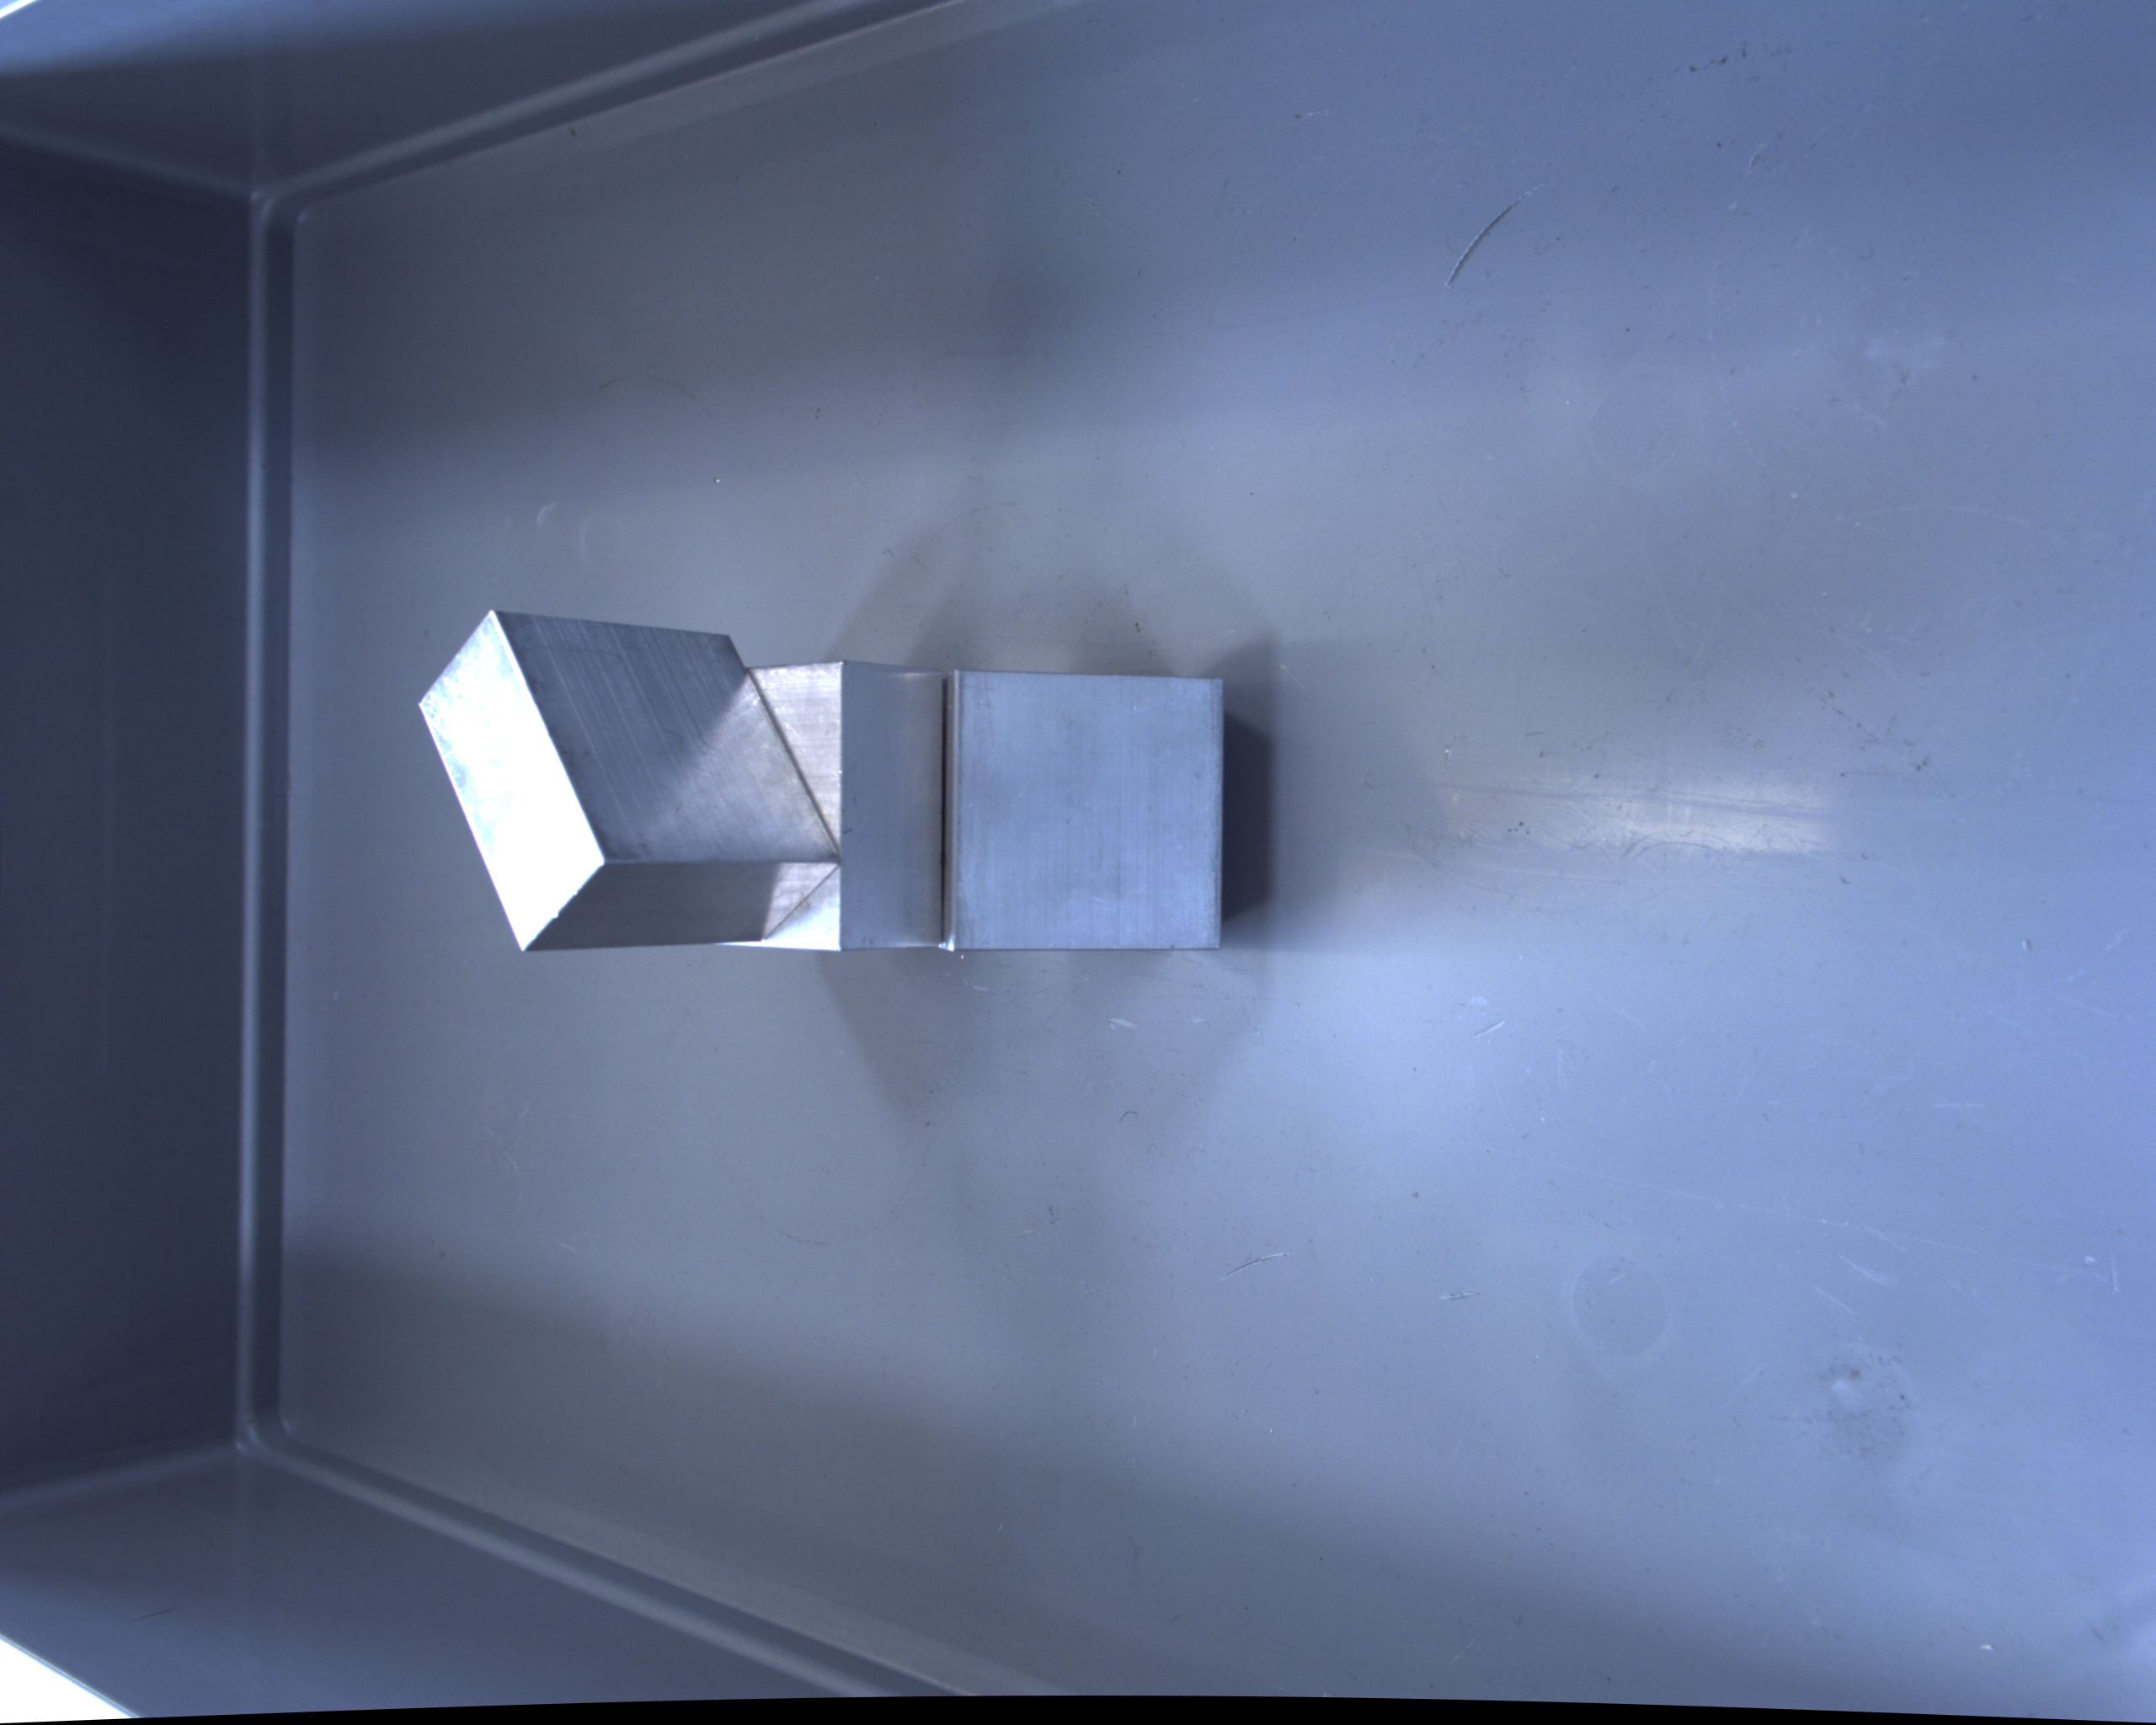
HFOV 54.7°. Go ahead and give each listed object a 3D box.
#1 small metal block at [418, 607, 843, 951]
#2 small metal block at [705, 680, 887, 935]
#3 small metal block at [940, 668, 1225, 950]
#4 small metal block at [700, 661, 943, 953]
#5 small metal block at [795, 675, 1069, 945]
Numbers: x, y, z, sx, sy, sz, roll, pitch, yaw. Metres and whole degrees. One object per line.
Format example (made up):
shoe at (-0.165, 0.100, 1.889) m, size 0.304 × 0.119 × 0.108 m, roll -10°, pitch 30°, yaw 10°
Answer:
small metal block at (-0.075, -0.014, 0.352) m, size 0.025 × 0.050 × 0.050 m, roll -43°, pitch 64°, yaw 32°
small metal block at (-0.057, -0.011, 0.432) m, size 0.025 × 0.050 × 0.050 m, roll 1°, pitch 91°, yaw 7°
small metal block at (-0.001, -0.009, 0.386) m, size 0.025 × 0.050 × 0.050 m, roll -178°, pitch 88°, yaw -74°
small metal block at (-0.052, -0.010, 0.381) m, size 0.050 × 0.025 × 0.050 m, roll 1°, pitch 90°, yaw 40°
small metal block at (-0.028, -0.010, 0.411) m, size 0.025 × 0.050 × 0.050 m, roll 1°, pitch 91°, yaw 40°
